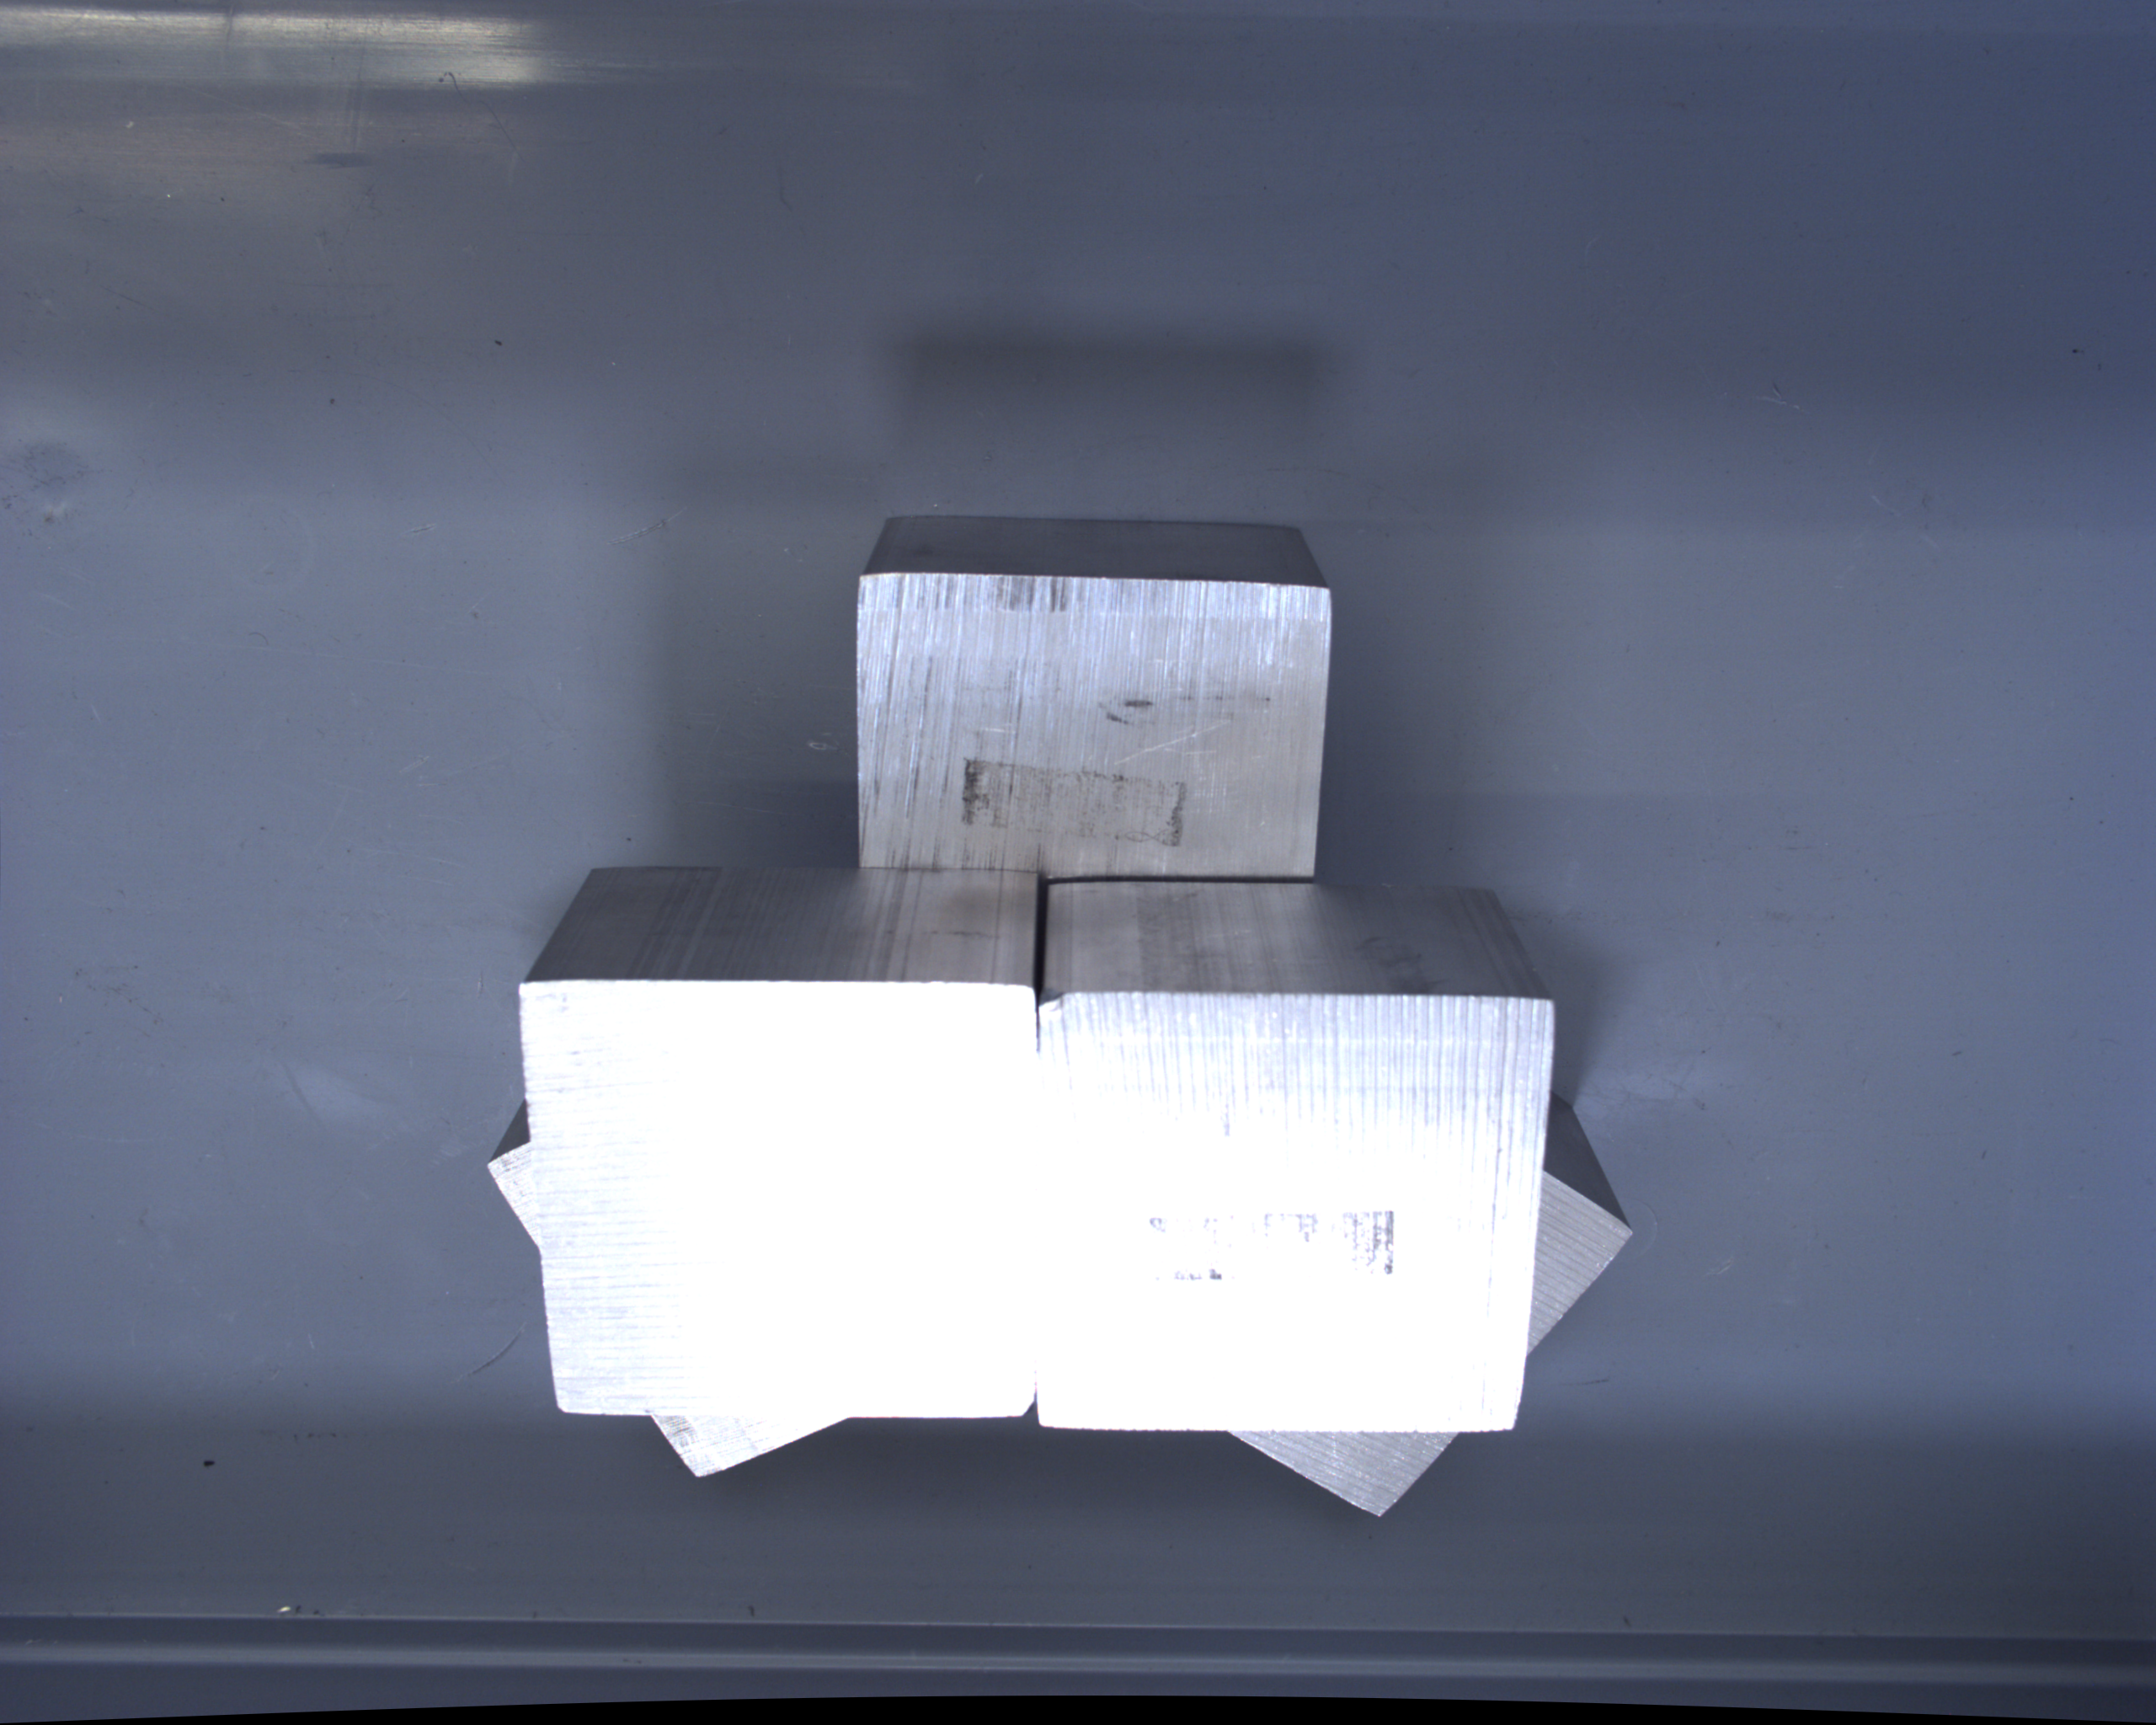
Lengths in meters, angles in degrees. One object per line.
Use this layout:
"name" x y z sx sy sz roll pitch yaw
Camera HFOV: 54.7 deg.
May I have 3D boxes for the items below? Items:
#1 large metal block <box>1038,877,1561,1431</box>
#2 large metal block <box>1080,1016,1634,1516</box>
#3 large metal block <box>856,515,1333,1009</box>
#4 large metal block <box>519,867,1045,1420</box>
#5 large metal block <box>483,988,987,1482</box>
"large metal block" 0.034 0.049 0.360 0.081 0.050 0.079 1 110 -1
"large metal block" 0.049 0.070 0.421 0.080 0.050 0.080 33 107 -11
"large metal block" 0.002 -0.020 0.389 0.081 0.050 0.079 1 110 -1
"large metal block" -0.047 0.047 0.360 0.081 0.050 0.079 1 110 -1
"large metal block" -0.057 0.065 0.419 0.080 0.050 0.080 -25 108 8
